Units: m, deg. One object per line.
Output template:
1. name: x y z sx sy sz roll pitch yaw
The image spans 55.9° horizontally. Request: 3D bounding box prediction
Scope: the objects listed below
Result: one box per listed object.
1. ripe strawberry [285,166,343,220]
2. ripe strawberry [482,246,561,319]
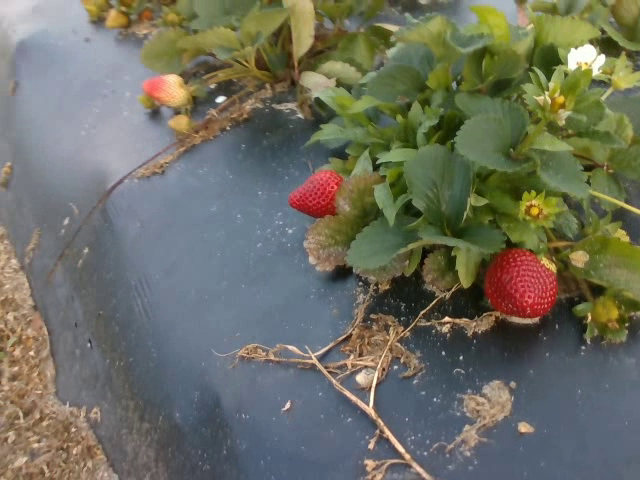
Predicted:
1. ripe strawberry: -0.001 -0.031 0.448 0.050 0.043 0.043 -18 45 -12
2. ripe strawberry: 0.116 0.026 0.350 0.043 0.047 0.046 -25 18 17
